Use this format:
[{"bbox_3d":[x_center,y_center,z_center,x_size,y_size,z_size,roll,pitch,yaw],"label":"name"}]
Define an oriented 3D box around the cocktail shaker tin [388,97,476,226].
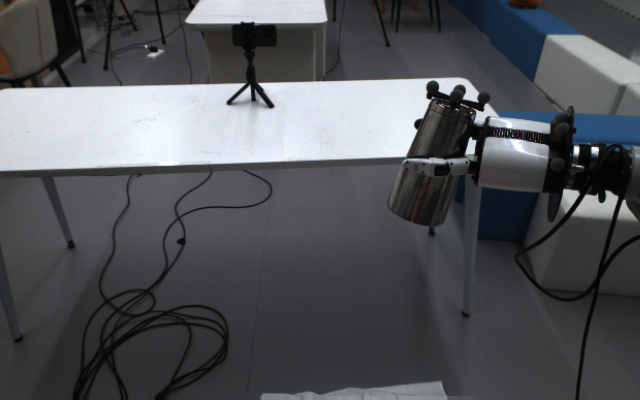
[{"bbox_3d":[0.169,-0.061,0.712,0.093,0.170,0.093,12,24,-5],"label":"cocktail shaker tin"}]
